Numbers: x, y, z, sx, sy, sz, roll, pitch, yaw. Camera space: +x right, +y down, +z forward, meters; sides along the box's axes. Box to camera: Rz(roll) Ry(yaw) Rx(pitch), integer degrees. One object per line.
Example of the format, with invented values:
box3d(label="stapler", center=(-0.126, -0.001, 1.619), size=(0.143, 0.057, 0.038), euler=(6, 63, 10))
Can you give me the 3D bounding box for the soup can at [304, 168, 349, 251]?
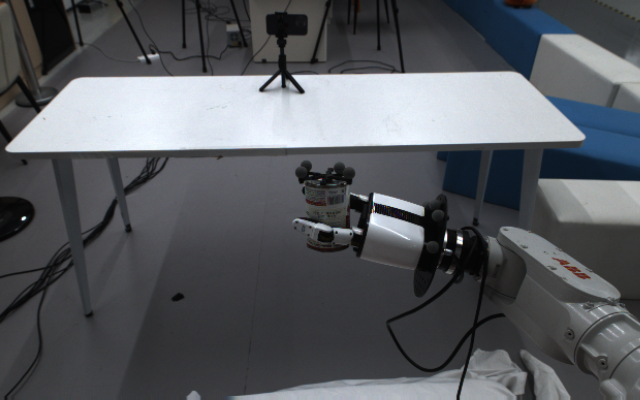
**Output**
box3d(label="soup can", center=(0.013, 0.019, 0.721), size=(0.067, 0.101, 0.067), euler=(-2, 17, 0))
